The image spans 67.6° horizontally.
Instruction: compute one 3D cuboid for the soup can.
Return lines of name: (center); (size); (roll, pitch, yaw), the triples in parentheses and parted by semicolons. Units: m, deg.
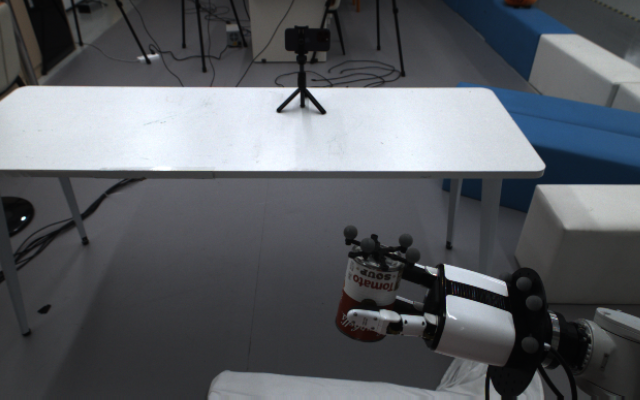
soup can: (0.063, 0.111, 0.594); (0.067, 0.101, 0.067); (9, 20, -3)
